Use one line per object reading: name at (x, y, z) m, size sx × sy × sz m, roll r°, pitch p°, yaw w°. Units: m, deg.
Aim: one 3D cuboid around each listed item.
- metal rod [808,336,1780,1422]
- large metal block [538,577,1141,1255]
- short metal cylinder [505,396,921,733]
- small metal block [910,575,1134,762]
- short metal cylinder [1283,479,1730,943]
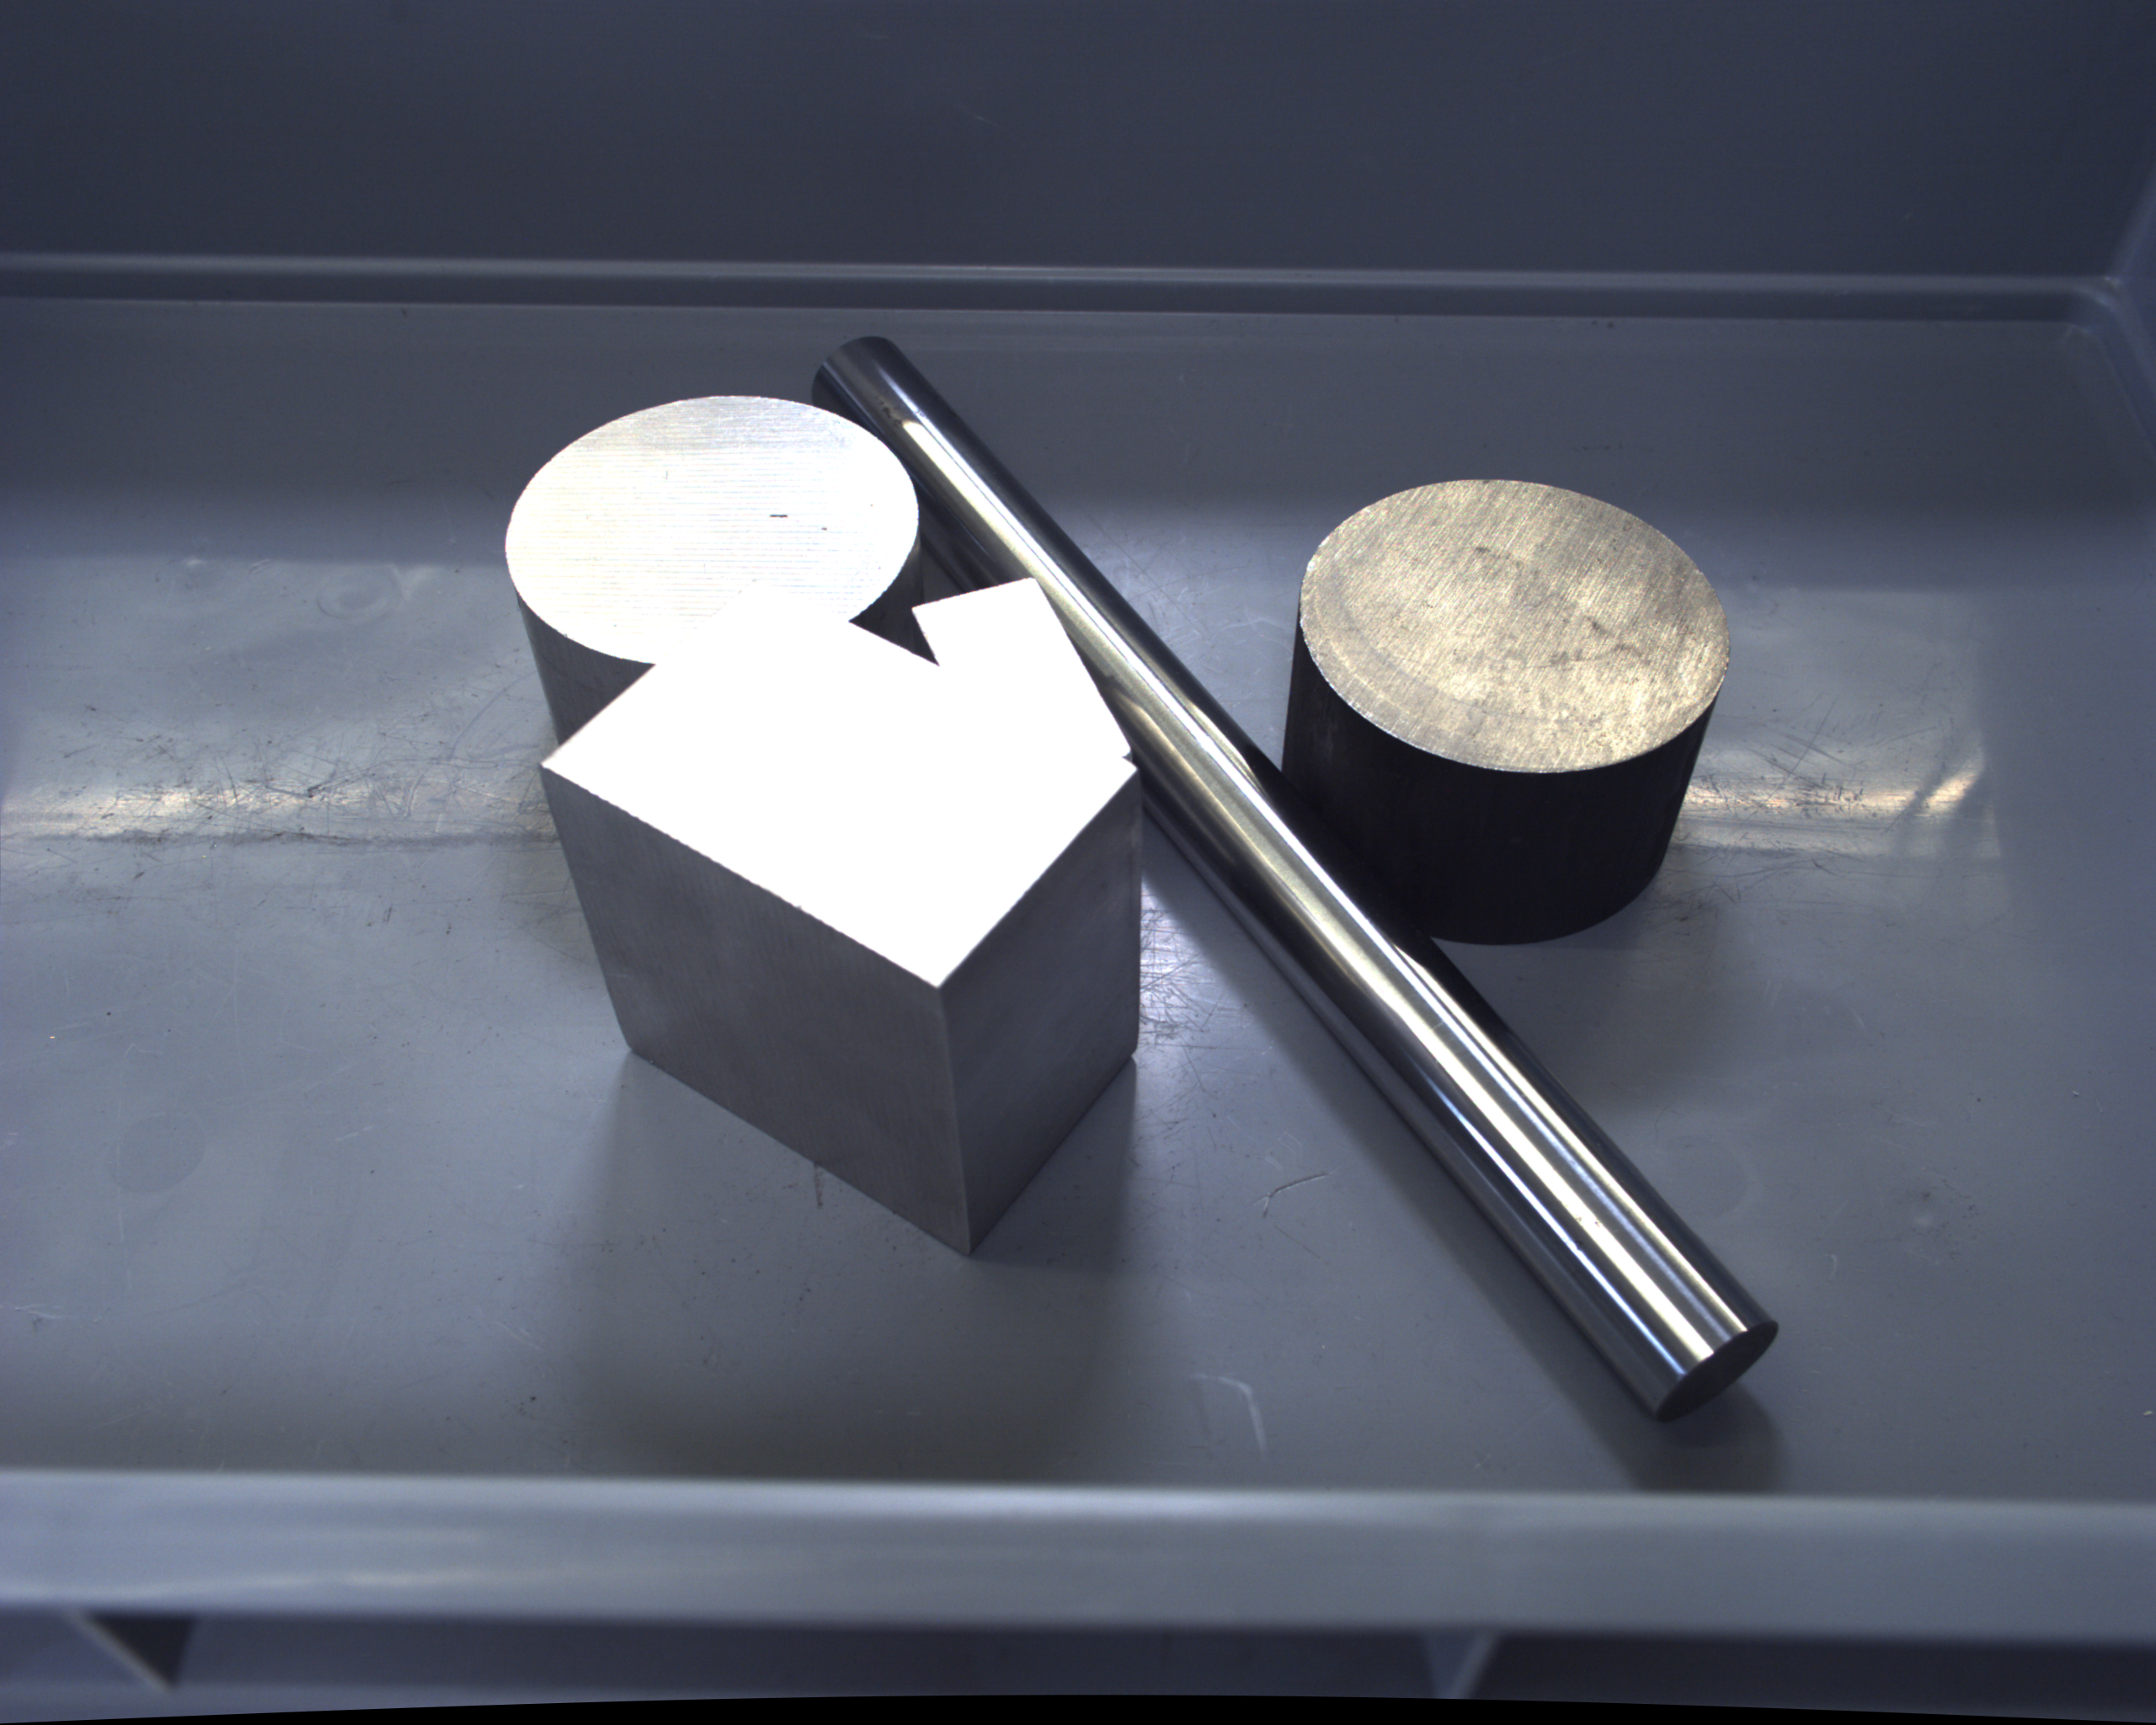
metal rod at (0.025, -0.017, 0.417) m, size 0.025 × 0.025 × 0.300 m, roll -25°, pitch 55°, yaw -20°
large metal block at (-0.037, 0.010, 0.358) m, size 0.080 × 0.080 × 0.050 m, roll 27°, pitch 56°, yaw 21°
short metal cylinder at (-0.072, -0.051, 0.429) m, size 0.081 × 0.050 × 0.080 m, roll 0°, pitch 50°, yaw 0°
small metal block at (-0.011, -0.018, 0.401) m, size 0.025 × 0.050 × 0.050 m, roll -17°, pitch 52°, yaw -13°
short metal cylinder at (0.082, -0.031, 0.413) m, size 0.081 × 0.050 × 0.080 m, roll 0°, pitch 50°, yaw 0°
